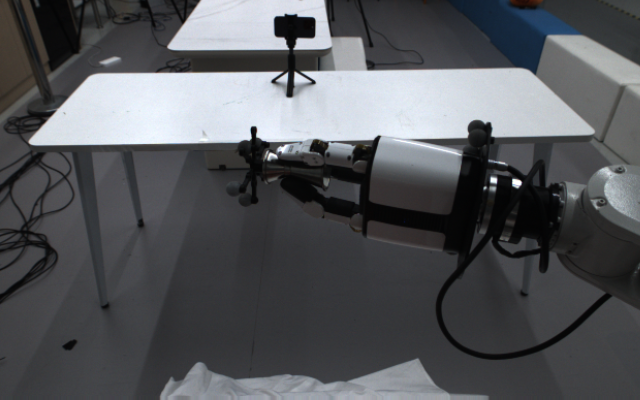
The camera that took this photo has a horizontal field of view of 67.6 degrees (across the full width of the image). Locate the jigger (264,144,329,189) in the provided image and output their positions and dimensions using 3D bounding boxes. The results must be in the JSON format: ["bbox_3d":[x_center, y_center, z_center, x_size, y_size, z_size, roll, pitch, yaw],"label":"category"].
[{"bbox_3d":[-0.018,-0.038,0.536,0.071,0.043,0.043,4,34,12],"label":"jigger"}]
